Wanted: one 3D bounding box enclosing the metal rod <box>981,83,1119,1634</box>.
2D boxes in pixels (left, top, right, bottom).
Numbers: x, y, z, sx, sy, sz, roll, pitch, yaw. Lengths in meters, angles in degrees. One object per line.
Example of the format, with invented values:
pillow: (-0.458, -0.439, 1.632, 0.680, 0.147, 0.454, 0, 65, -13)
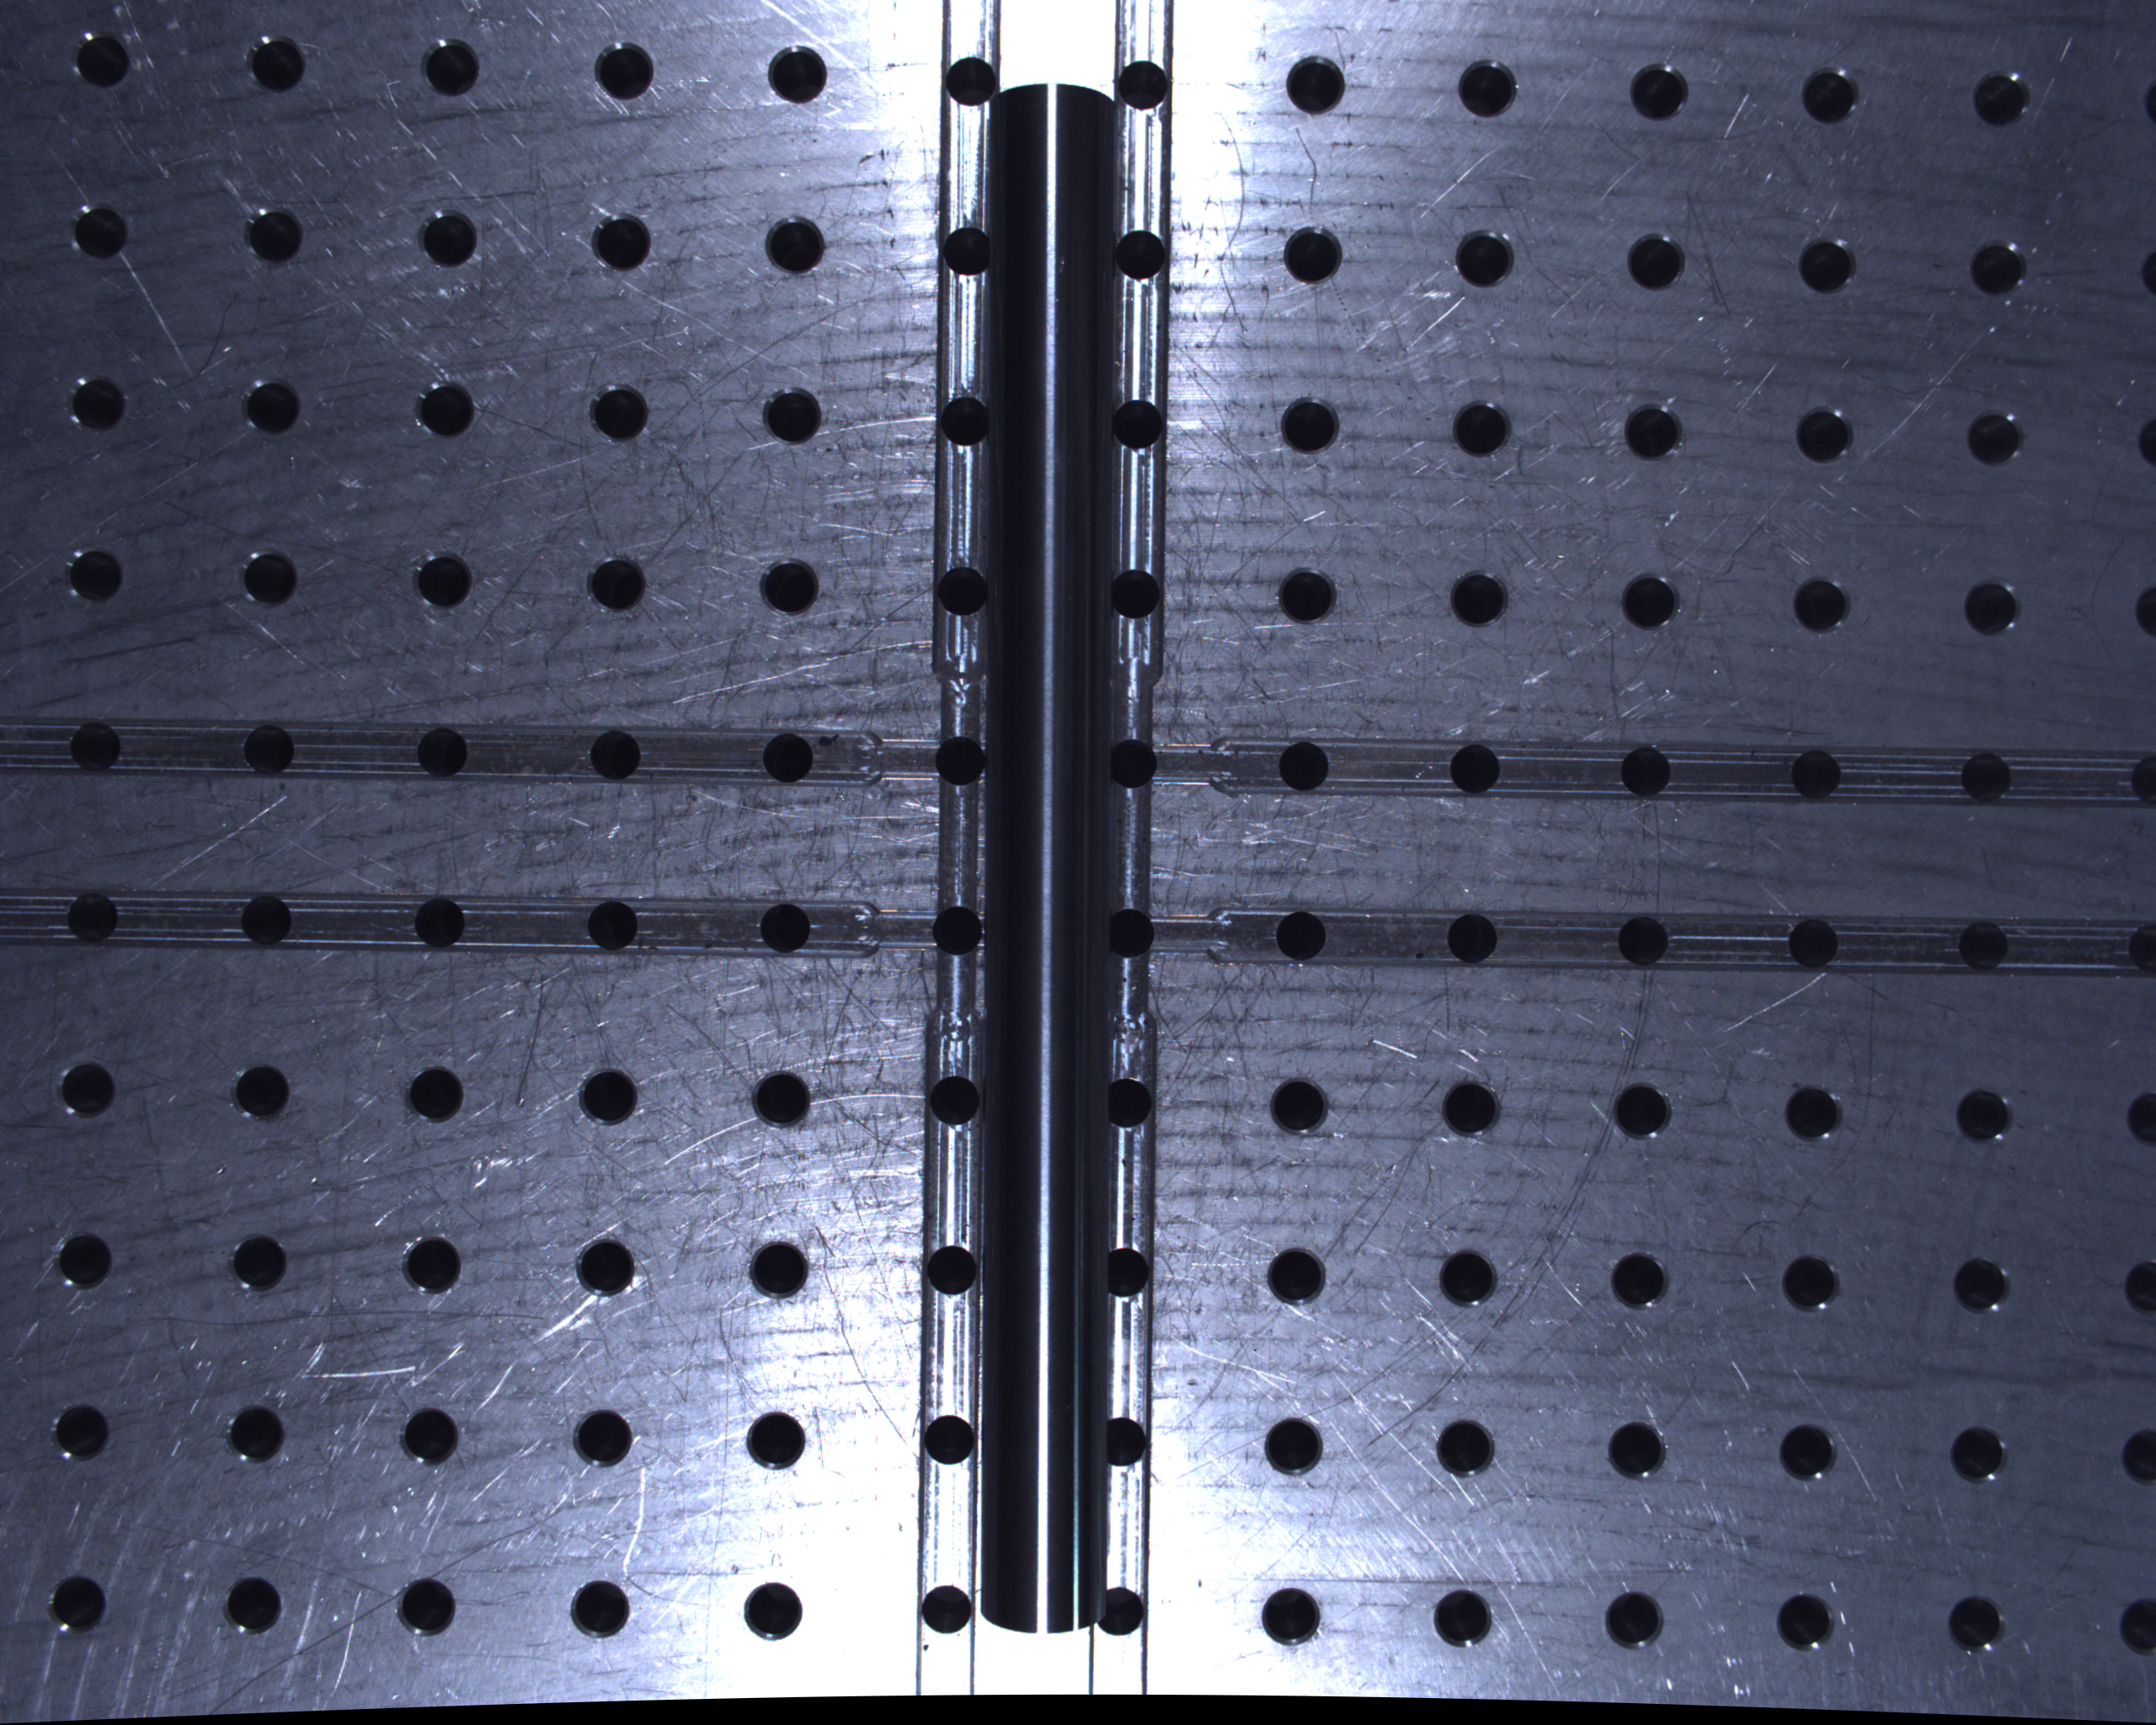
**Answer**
metal rod: (-0.006, -0.001, 0.413, 0.025, 0.025, 0.298, 0, 90, -1)
